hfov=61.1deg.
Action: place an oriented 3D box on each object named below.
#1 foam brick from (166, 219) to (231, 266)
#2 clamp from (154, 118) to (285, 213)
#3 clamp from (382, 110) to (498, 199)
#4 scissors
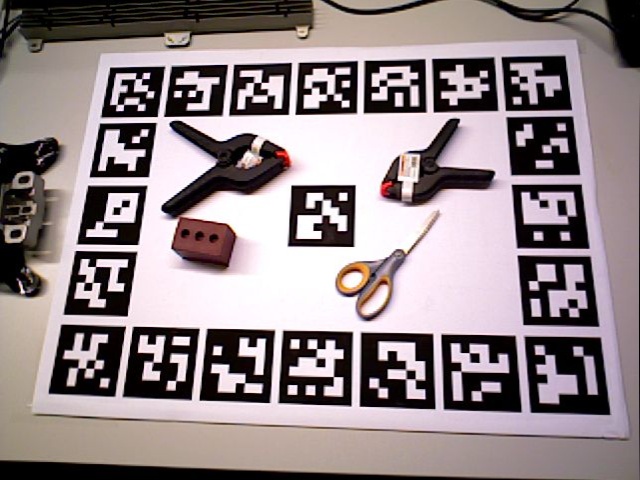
[{"bbox_3d":[-0.178,0.003,0.809,0.078,0.051,0.052,7,75,12],"label":"foam brick"},{"bbox_3d":[-0.156,-0.125,0.850,0.202,0.037,0.164,-3,70,4],"label":"clamp"},{"bbox_3d":[0.168,-0.112,0.817,0.164,0.037,0.122,-26,80,-2],"label":"clamp"},{"bbox_3d":[0.101,0.027,0.785,0.087,0.016,0.201,41,80,8],"label":"scissors"}]
